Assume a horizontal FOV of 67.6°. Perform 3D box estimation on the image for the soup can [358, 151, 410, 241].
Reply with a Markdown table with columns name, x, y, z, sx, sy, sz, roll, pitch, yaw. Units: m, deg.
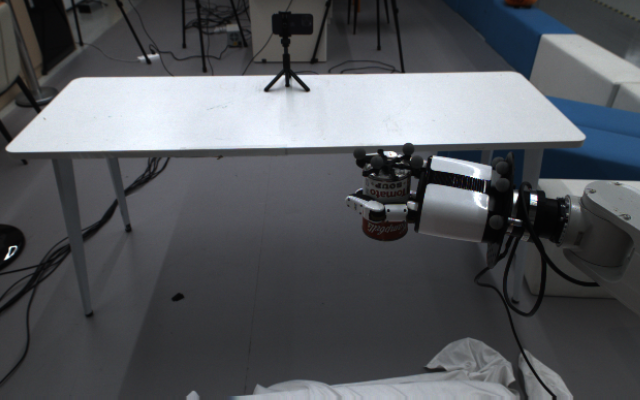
| name | x | y | z | sx | sy | sz | roll | pitch | yaw |
| --- | --- | --- | --- | --- | --- | --- | --- | --- | --- |
| soup can | 0.095 | -0.003 | 0.687 | 0.067 | 0.101 | 0.067 | -2 | 33 | 1 |
